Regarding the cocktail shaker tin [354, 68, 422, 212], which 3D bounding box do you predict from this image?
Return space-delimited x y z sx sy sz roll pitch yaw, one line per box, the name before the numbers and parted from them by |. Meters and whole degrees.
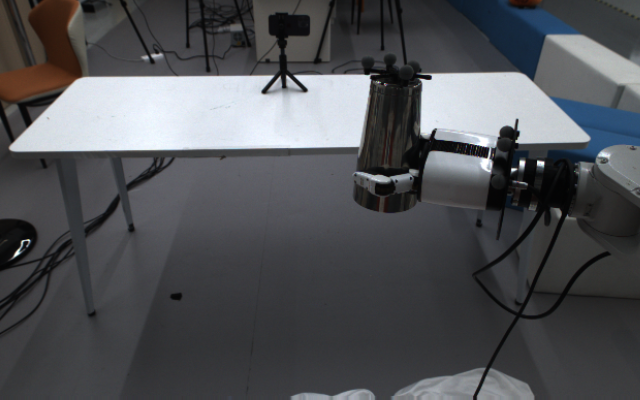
cocktail shaker tin | 0.097 -0.079 0.662 0.093 0.170 0.093 1 28 -1
